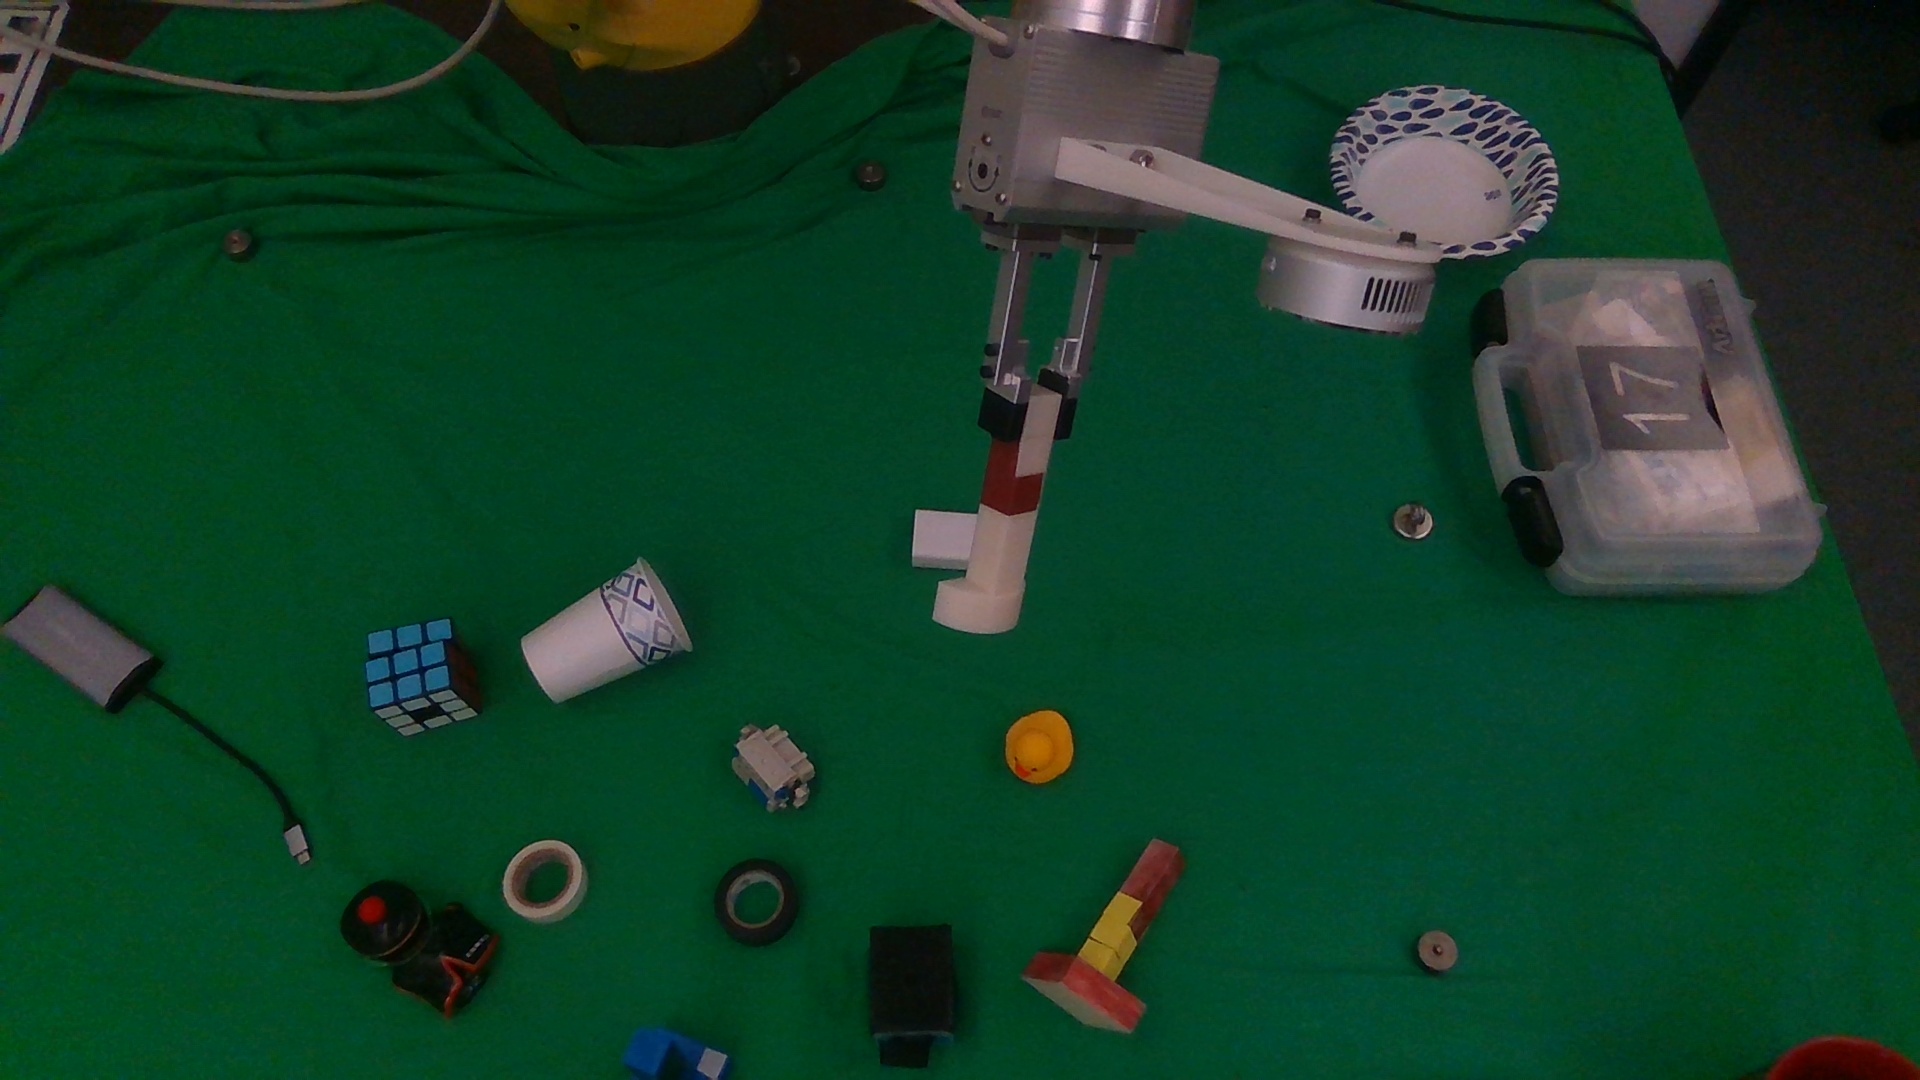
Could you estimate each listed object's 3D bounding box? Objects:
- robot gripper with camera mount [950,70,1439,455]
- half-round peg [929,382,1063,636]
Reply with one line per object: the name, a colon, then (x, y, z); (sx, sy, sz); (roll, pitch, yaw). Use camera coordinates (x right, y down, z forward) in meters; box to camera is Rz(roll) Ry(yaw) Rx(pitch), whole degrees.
robot gripper with camera mount: (0.098, -0.090, 0.553); (0.118, 0.158, 0.194); (-11, 28, -39)
half-round peg: (0.021, -0.014, 0.646); (0.054, 0.122, 0.031); (-9, 30, -39)
